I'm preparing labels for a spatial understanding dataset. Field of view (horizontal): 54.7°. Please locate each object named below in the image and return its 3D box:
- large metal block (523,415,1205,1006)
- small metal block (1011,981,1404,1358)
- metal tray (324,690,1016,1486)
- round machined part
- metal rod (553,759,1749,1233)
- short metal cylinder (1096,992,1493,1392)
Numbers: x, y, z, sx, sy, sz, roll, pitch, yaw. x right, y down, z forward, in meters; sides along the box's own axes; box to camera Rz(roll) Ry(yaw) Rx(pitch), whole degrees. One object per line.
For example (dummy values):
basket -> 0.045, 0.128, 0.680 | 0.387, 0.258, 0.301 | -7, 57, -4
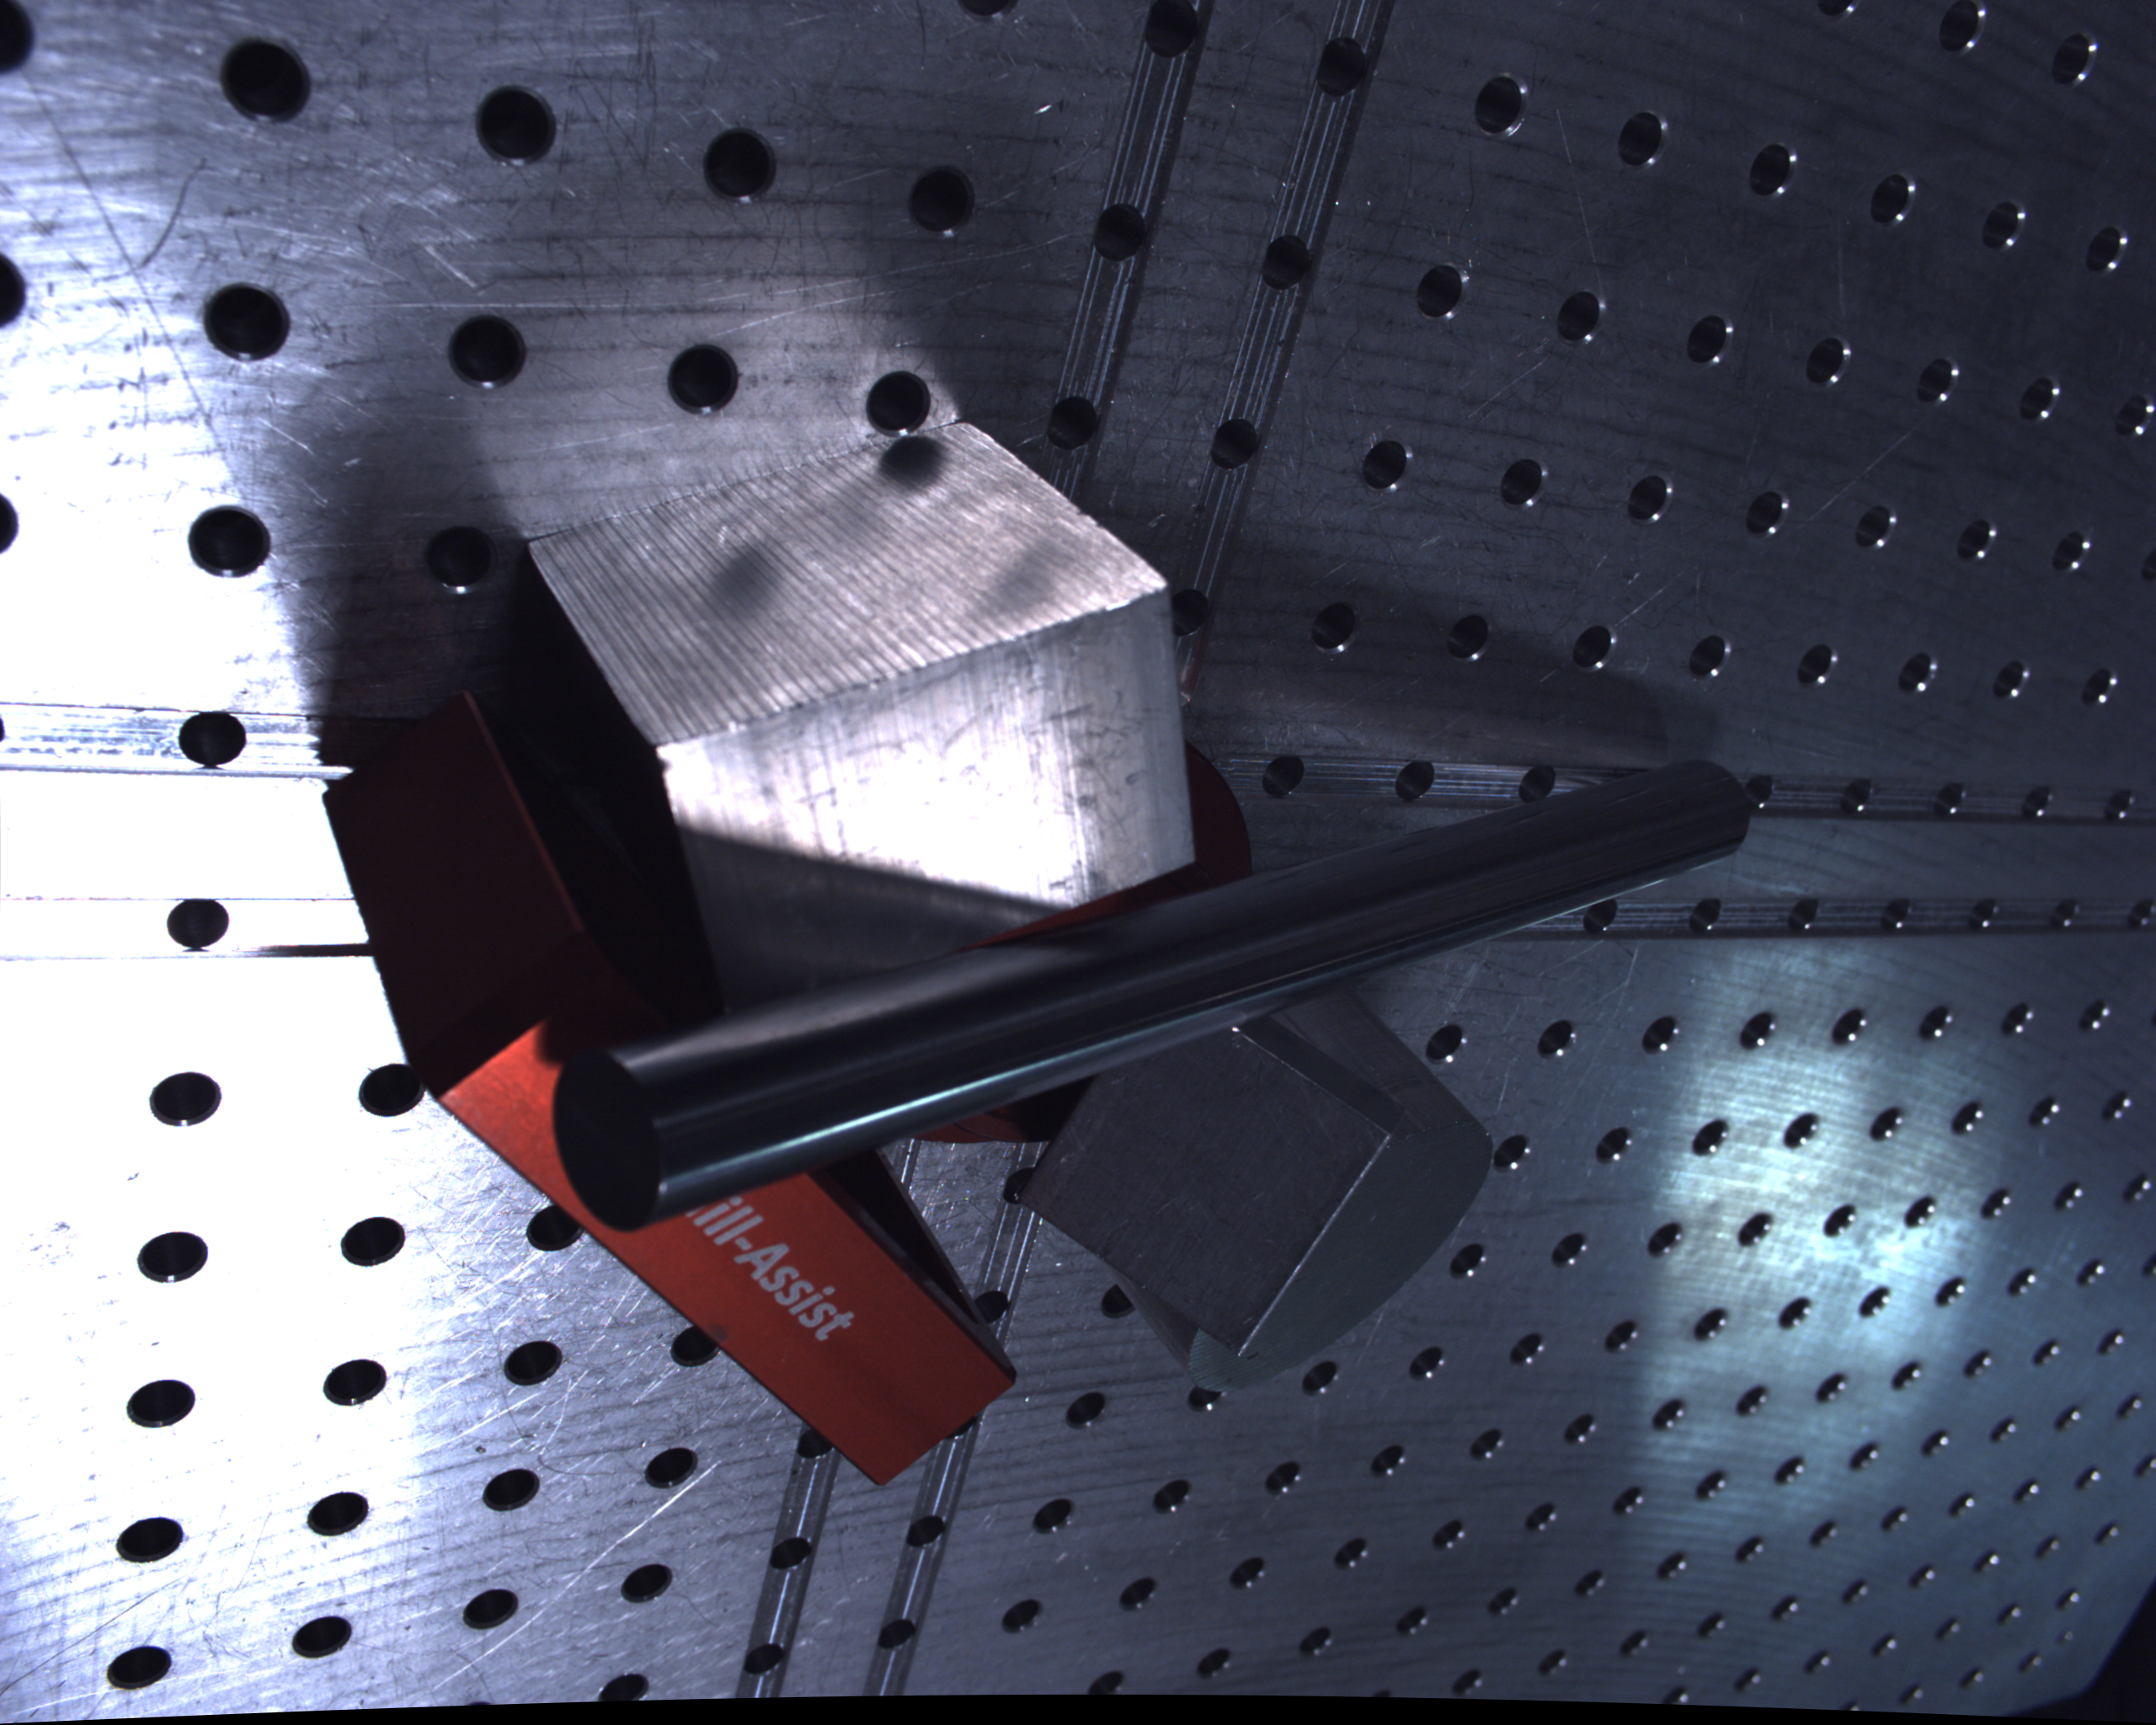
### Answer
large metal block -> -0.035, -0.027, 0.339 | 0.081, 0.080, 0.050 | -20, 126, -17
small metal block -> 0.024, 0.054, 0.387 | 0.050, 0.050, 0.025 | -58, 170, 11
metal tray -> -0.068, 0.040, 0.357 | 0.030, 0.090, 0.130 | -38, 130, -3
round machined part -> -0.010, 0.014, 0.408 | 0.099, 0.042, 0.097 | -14, 125, -21
metal rod -> 0.042, 0.012, 0.382 | 0.302, 0.025, 0.025 | -13, 127, -45
short metal cylinder -> 0.041, 0.067, 0.445 | 0.081, 0.050, 0.080 | -29, 147, -21
